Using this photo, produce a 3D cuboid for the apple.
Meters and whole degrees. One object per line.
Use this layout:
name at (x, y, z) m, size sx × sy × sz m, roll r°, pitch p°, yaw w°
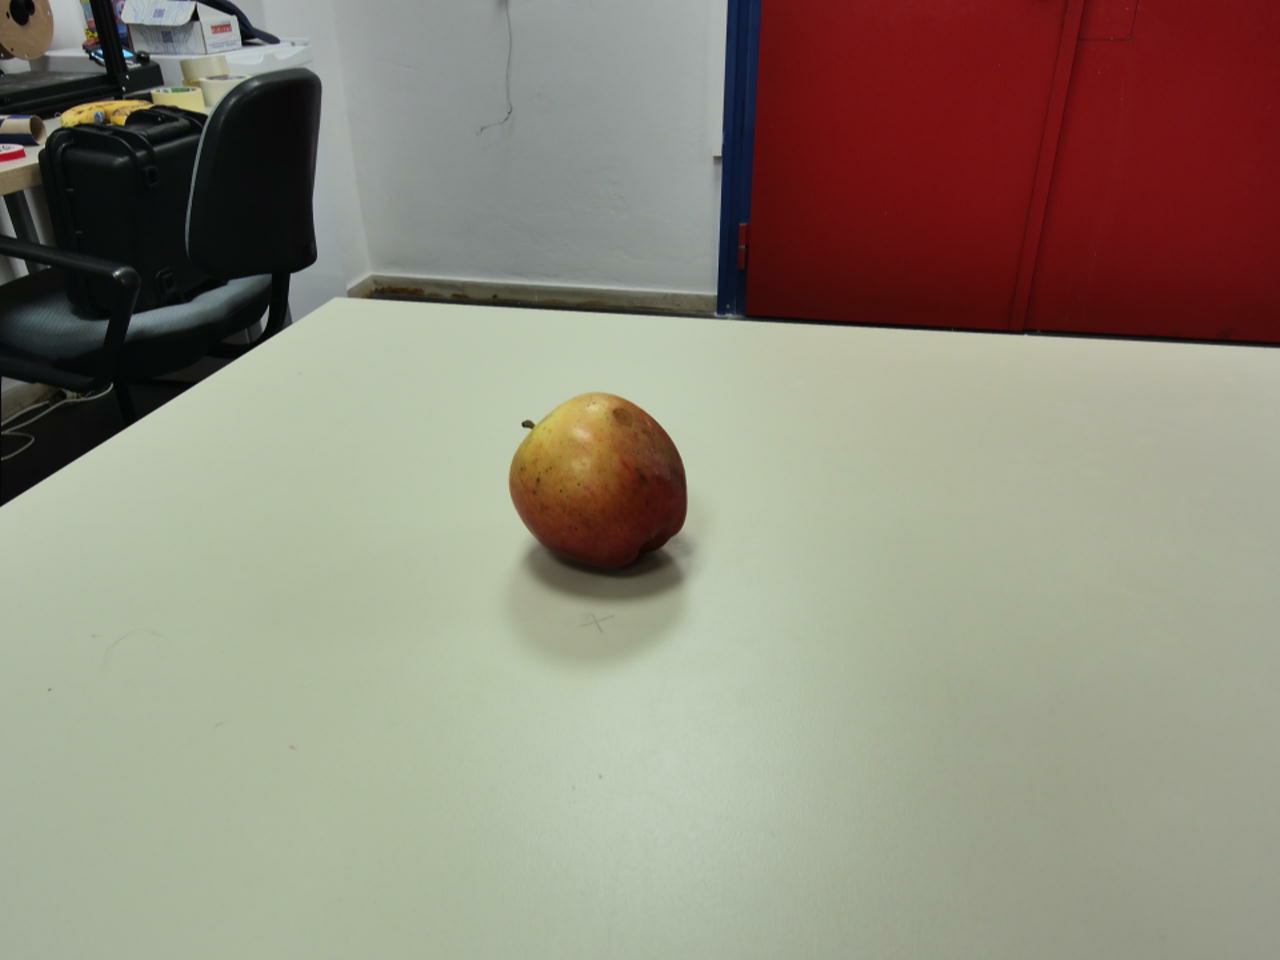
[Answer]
apple at (-0.023, -0.001, 0.508) m, size 0.086 × 0.084 × 0.093 m, roll -12°, pitch 27°, yaw -21°
